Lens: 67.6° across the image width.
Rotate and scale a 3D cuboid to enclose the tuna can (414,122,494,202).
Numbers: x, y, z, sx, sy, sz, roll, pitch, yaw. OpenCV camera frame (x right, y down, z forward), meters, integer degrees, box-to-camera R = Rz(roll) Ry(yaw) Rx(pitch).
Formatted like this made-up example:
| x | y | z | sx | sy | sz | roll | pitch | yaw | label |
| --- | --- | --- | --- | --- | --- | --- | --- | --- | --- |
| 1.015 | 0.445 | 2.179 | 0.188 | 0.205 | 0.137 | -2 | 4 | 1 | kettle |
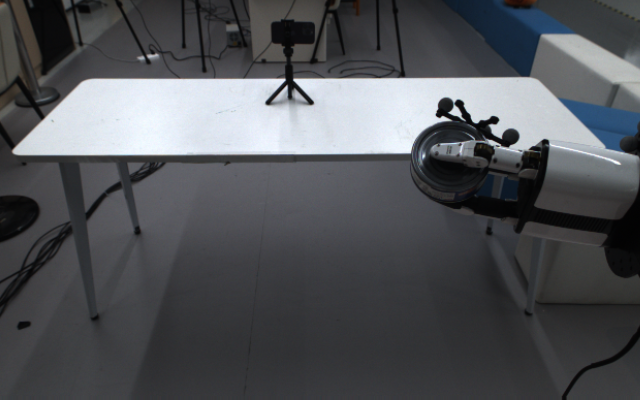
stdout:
| x | y | z | sx | sy | sz | roll | pitch | yaw | label |
| --- | --- | --- | --- | --- | --- | --- | --- | --- | --- |
| 0.147 | -0.037 | 0.528 | 0.085 | 0.034 | 0.085 | -4 | 69 | 10 | tuna can |
